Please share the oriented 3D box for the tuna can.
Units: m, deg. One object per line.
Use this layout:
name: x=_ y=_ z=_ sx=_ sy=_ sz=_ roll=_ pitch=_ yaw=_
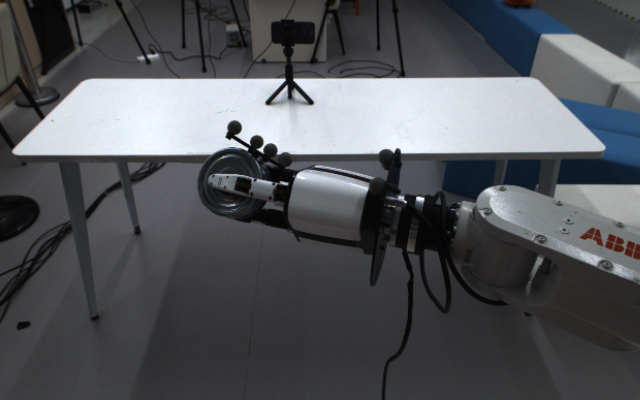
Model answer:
tuna can: x=-0.103 y=-0.020 z=0.592 sx=0.085 sy=0.085 sz=0.034 roll=12 pitch=-4 yaw=15
